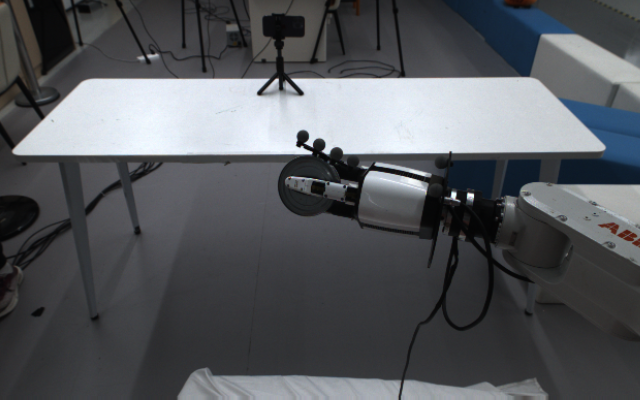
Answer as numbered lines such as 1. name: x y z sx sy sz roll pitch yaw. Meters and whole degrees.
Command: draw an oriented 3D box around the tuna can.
1. tuna can: -0.013 -0.020 0.687 0.085 0.085 0.034 10 5 11
